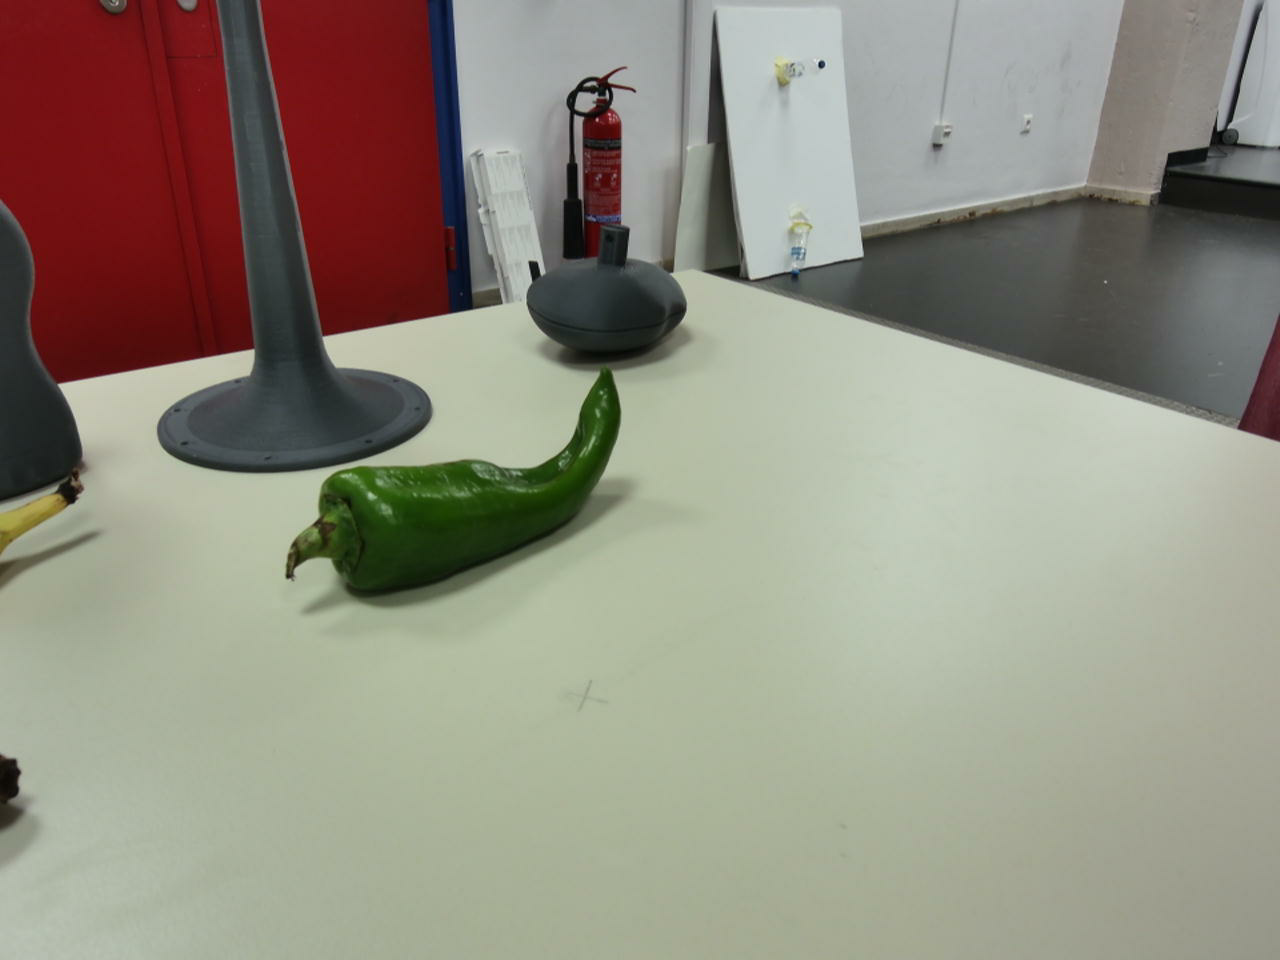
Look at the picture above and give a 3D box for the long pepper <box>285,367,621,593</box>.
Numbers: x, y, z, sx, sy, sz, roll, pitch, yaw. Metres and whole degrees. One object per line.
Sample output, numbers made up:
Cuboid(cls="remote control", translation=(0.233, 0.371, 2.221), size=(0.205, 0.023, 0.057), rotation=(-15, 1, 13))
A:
Cuboid(cls="long pepper", translation=(-0.071, 0.001, 0.431), size=(0.175, 0.065, 0.058), rotation=(-19, 30, -37))
